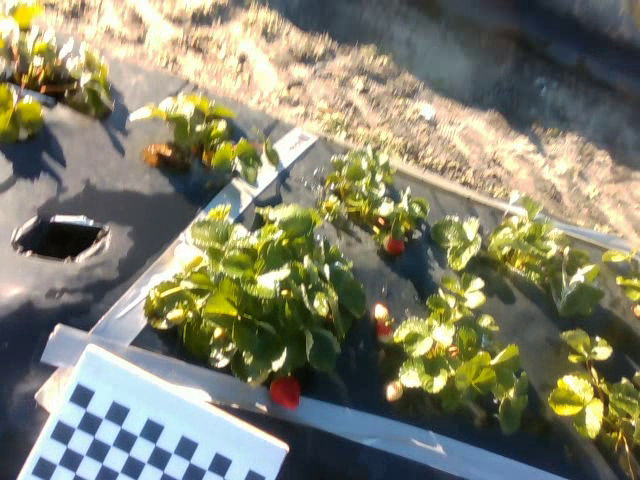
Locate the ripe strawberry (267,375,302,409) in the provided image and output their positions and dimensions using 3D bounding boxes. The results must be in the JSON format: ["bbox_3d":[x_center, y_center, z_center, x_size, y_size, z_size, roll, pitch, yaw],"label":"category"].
[{"bbox_3d":[-0.046,0.205,0.804,0.045,0.049,0.064,-37,34,-3],"label":"ripe strawberry"}]
